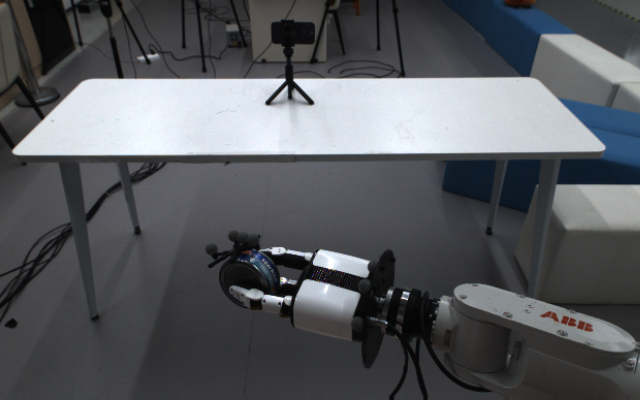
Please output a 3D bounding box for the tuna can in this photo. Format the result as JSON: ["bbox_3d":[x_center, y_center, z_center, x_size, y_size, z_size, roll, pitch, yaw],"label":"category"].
[{"bbox_3d":[-0.100,0.122,0.701,0.085,0.085,0.034,15,30,17],"label":"tuna can"}]
